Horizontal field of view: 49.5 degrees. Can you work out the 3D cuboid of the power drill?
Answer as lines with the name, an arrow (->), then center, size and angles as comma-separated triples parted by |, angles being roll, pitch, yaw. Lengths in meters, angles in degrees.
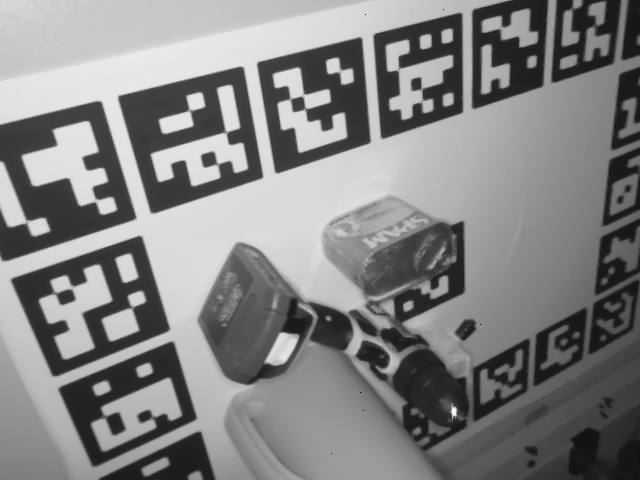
power drill -> 0.025, 0.077, 0.610 | 0.189, 0.183, 0.057 | 19, 99, -28

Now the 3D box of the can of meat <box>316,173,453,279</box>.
can of meat -> 0.057, -0.017, 0.645 | 0.103, 0.083, 0.057 | -19, 121, -20

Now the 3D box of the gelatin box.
gelatin box -> 0.098, 0.116, 0.735 | 0.090, 0.073, 0.030 | -7, 111, -25

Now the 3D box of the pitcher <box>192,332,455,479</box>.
pitcher -> 0.004, 0.191, 0.620 | 0.191, 0.240, 0.132 | 15, 101, -39

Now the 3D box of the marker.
marker -> 0.143, 0.139, 0.799 | 0.122, 0.019, 0.020 | -42, 124, -8
